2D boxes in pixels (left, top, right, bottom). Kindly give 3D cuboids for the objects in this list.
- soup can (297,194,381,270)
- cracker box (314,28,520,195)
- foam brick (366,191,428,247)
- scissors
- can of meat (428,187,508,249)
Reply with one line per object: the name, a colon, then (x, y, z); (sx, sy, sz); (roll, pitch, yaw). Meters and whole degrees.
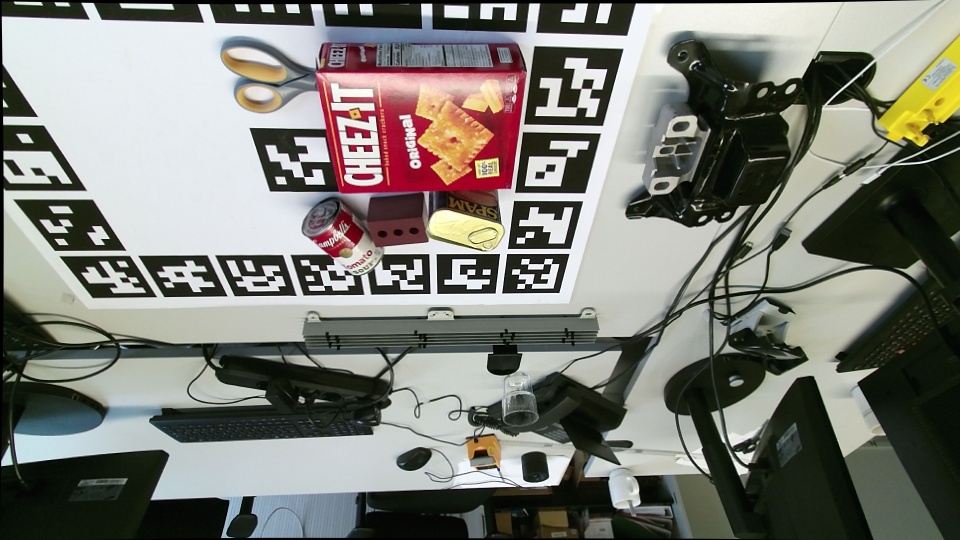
soup can: (-0.199, -0.051, 0.765); (0.068, 0.067, 0.102); (-28, 137, 22)
cracker box: (-0.062, -0.174, 0.615); (0.214, 0.071, 0.164); (-7, 137, -4)
foam brick: (-0.116, -0.072, 0.753); (0.078, 0.051, 0.053); (-8, 135, 3)
scissors: (-0.178, -0.220, 0.602); (0.203, 0.016, 0.088); (-4, 136, -1)
can of meat: (-0.018, -0.082, 0.724); (0.102, 0.083, 0.058); (10, 133, -14)
